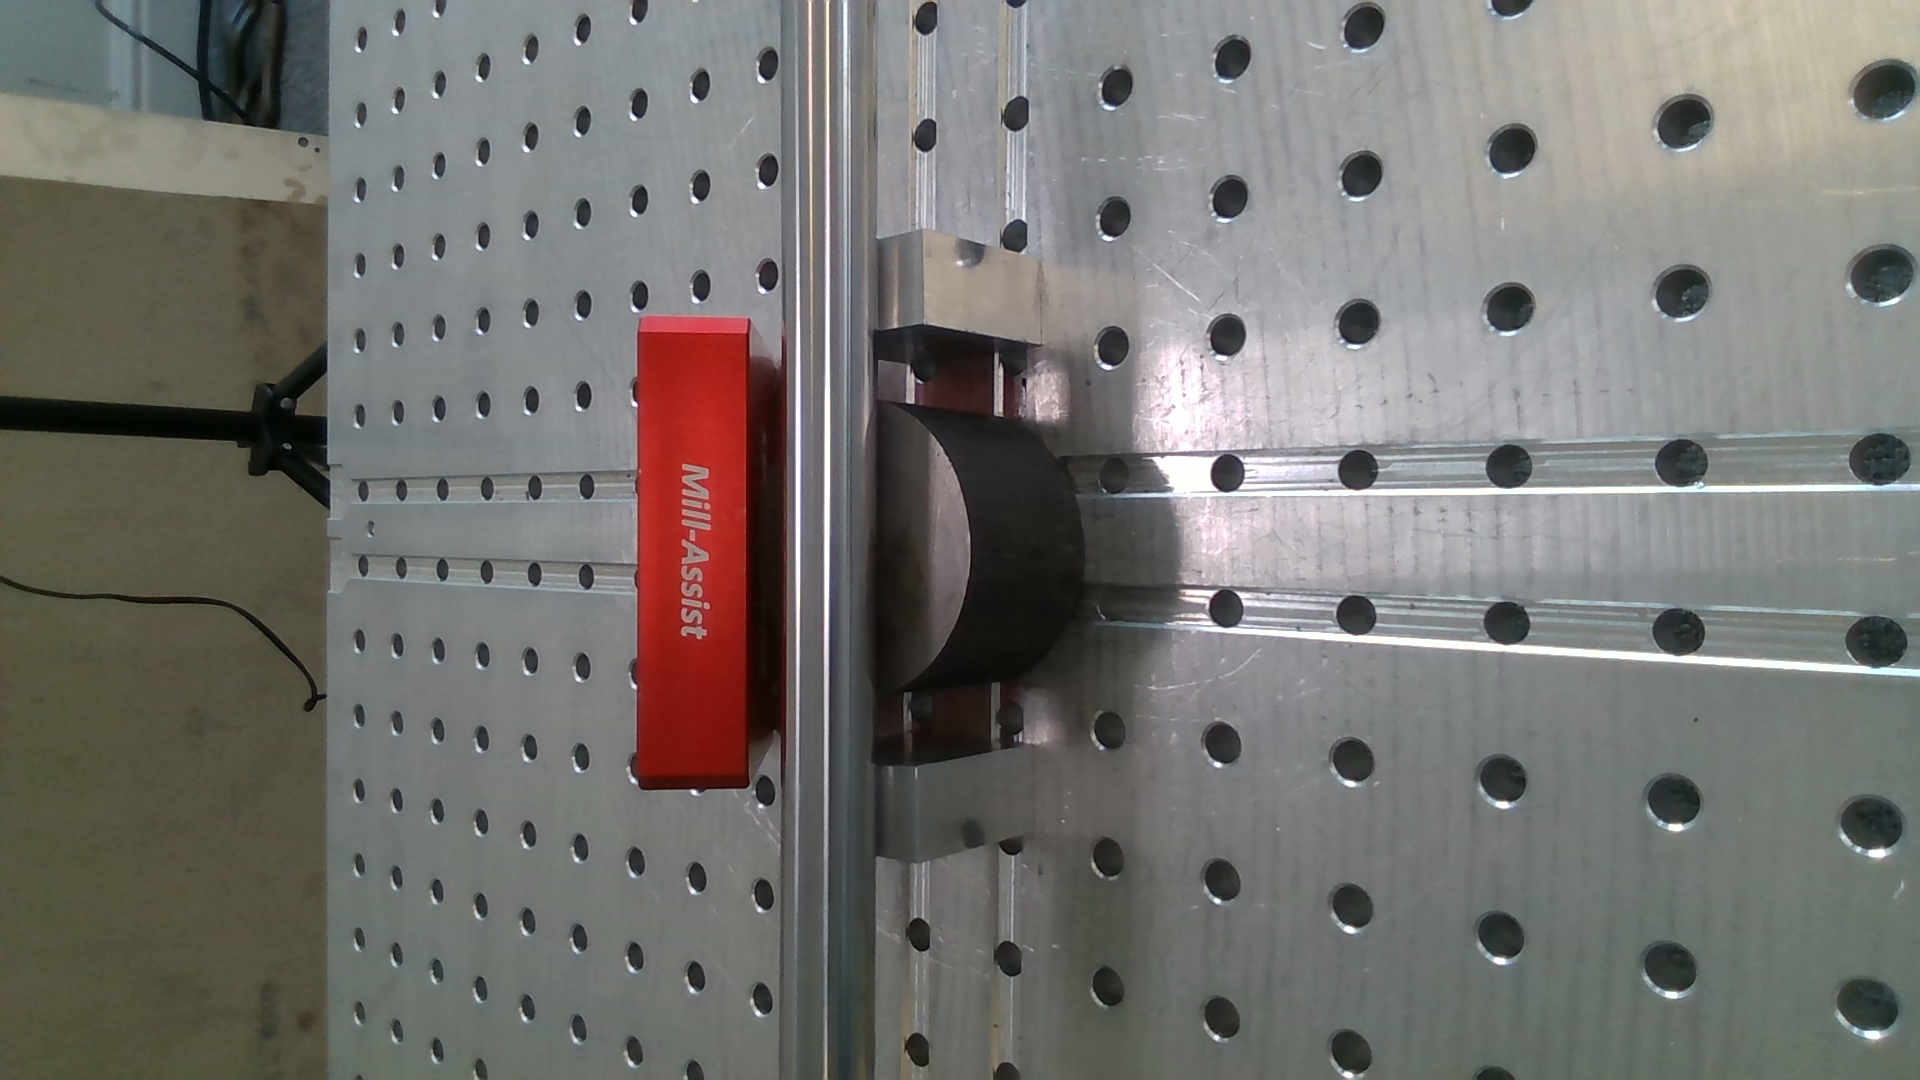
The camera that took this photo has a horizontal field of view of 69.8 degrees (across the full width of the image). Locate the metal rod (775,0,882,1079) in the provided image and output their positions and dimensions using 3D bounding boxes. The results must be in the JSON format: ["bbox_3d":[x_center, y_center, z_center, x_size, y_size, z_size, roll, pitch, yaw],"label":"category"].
[{"bbox_3d":[-0.034,-0.009,0.357,0.025,0.025,0.300,1,91,40],"label":"metal rod"}]

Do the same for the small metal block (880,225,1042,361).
[{"bbox_3d":[-0.012,-0.068,0.387,0.050,0.050,0.025,-1,89,40],"label":"small metal block"}]

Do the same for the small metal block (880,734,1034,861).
[{"bbox_3d":[-0.014,0.071,0.391,0.050,0.050,0.025,-1,89,40],"label":"small metal block"}]

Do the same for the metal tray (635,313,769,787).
[{"bbox_3d":[-0.075,0.003,0.418,0.030,0.090,0.130,0,91,-3],"label":"metal tray"}]

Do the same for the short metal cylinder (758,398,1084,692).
[{"bbox_3d":[-0.012,0.001,0.388,0.080,0.050,0.080,0,91,40],"label":"short metal cylinder"}]
